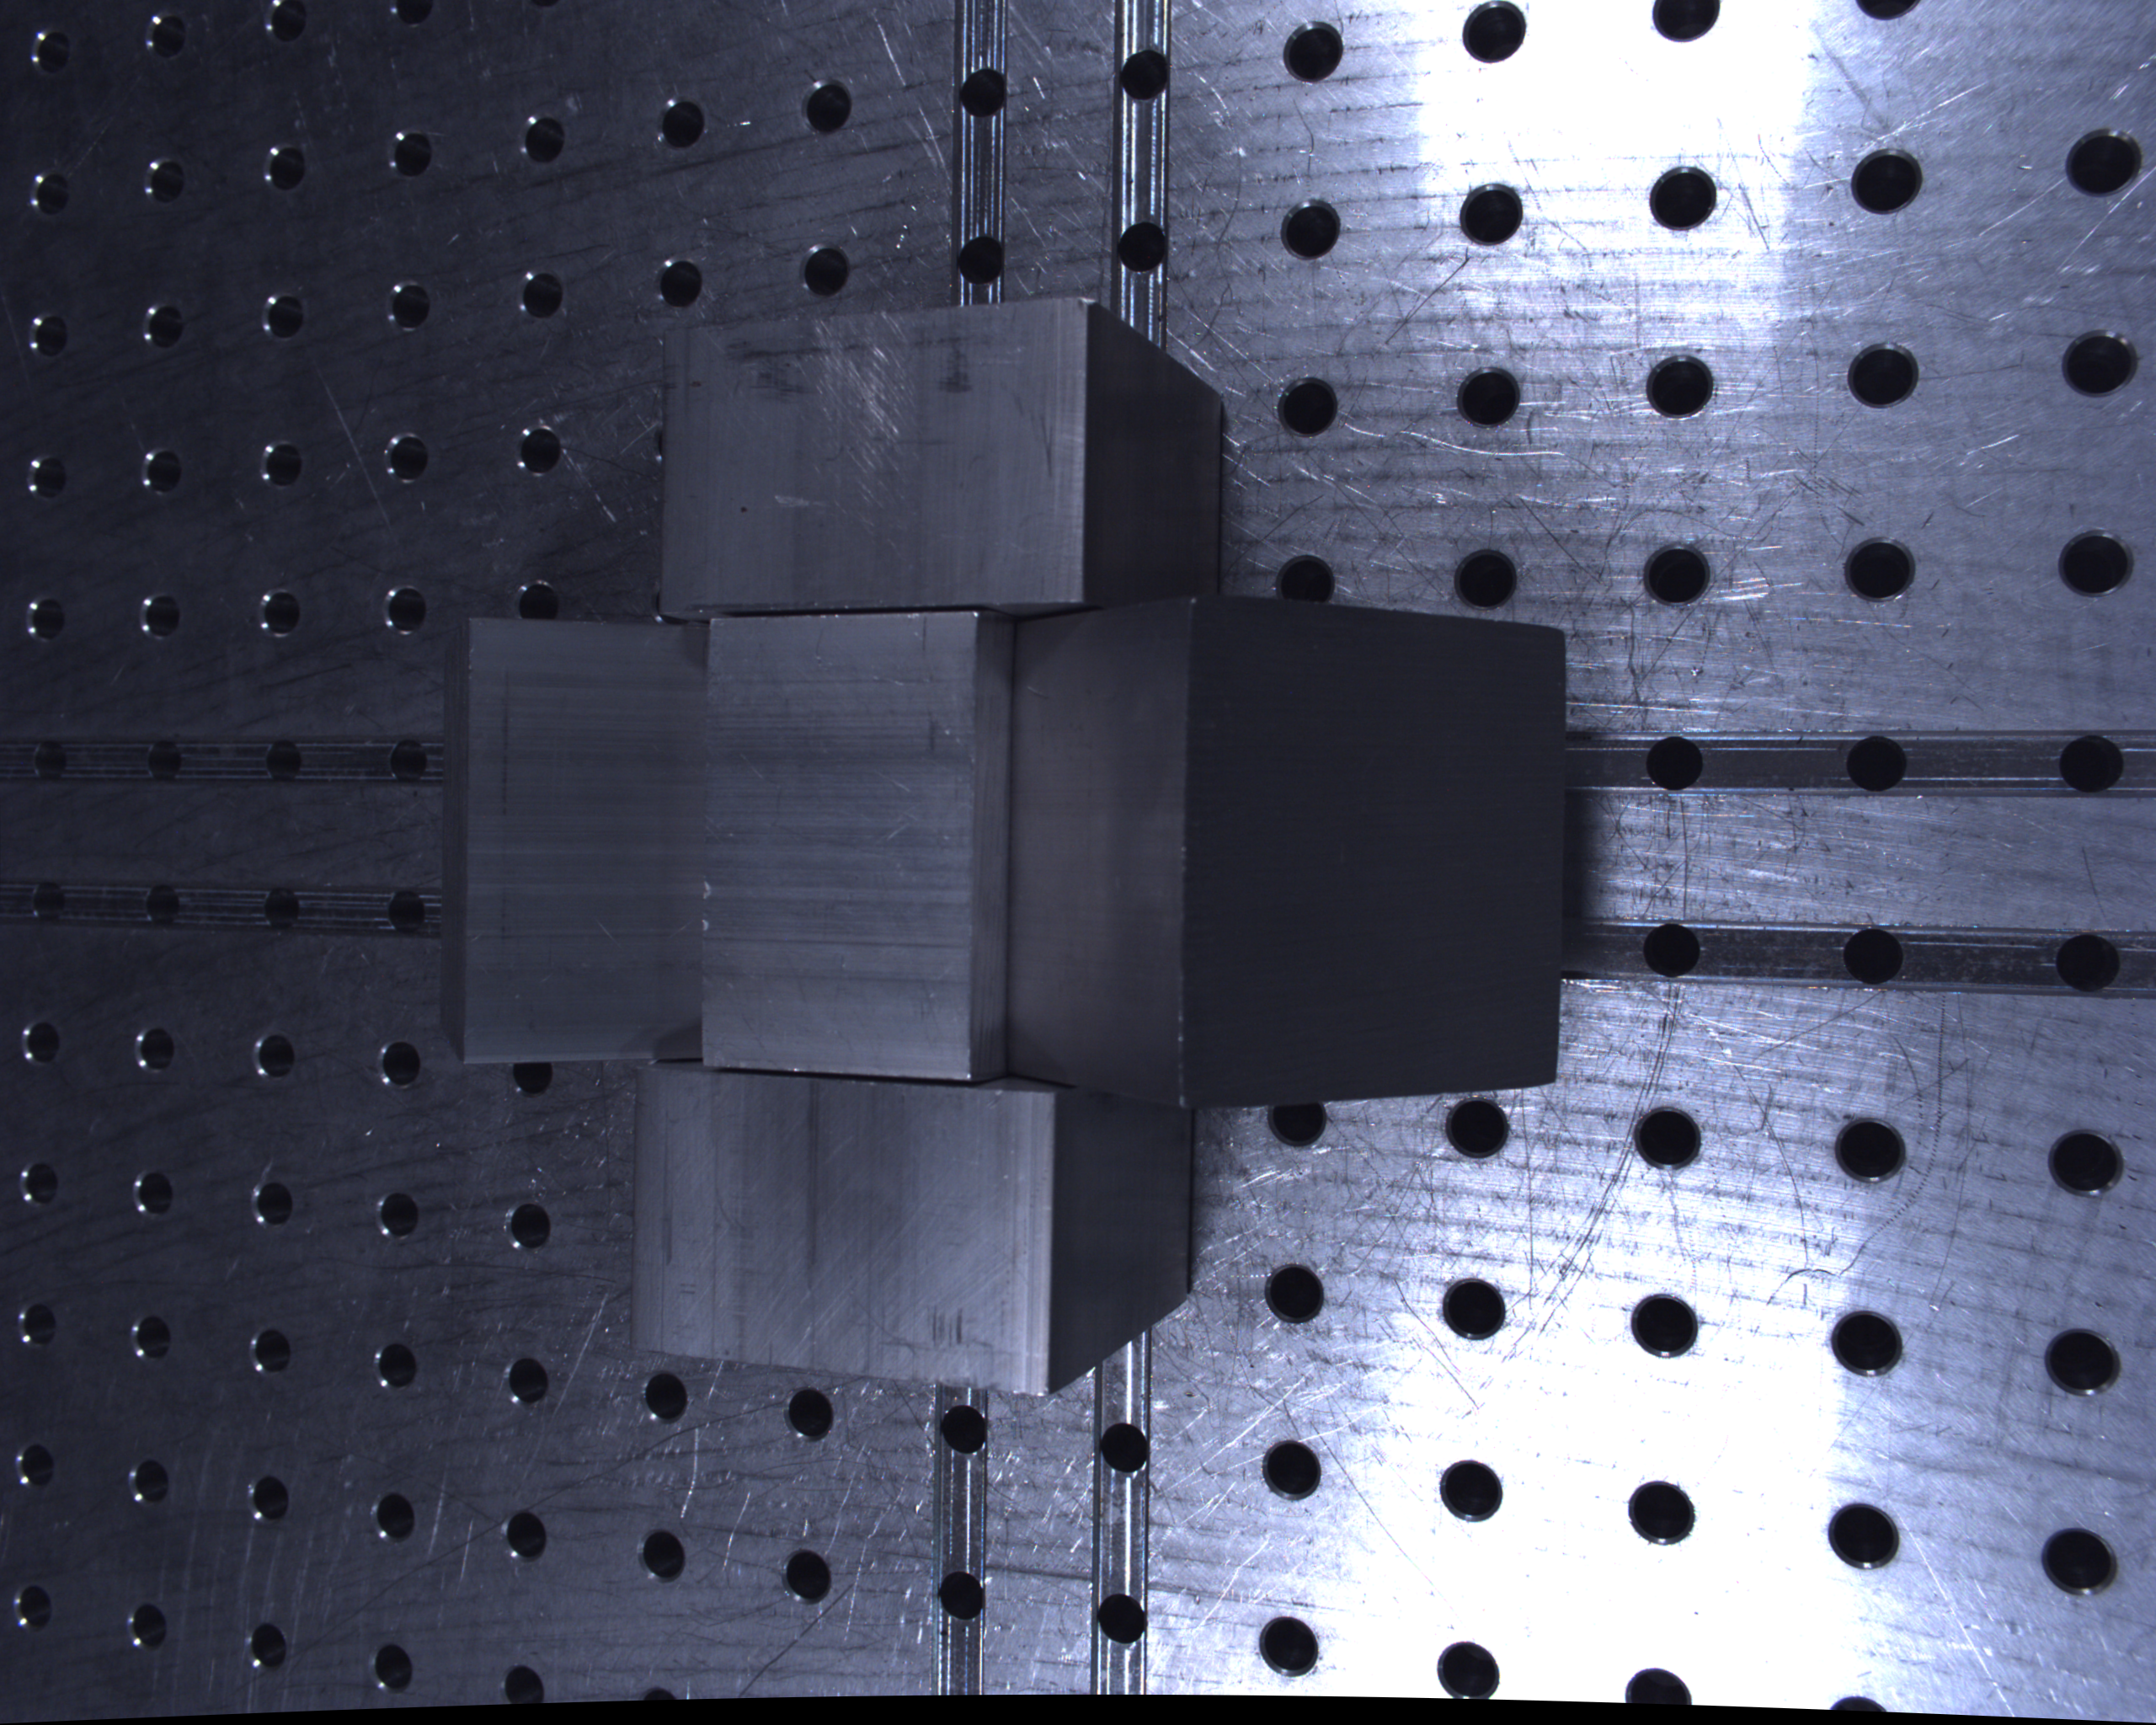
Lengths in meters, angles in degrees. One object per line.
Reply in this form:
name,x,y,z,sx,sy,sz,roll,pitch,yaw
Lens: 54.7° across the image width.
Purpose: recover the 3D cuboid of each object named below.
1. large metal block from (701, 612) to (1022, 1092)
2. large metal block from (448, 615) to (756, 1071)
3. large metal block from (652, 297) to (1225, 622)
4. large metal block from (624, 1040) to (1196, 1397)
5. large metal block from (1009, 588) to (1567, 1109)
large metal block,-0.027,-0.002,0.391,0.050,0.080,0.079,1,91,20
large metal block,-0.096,-0.004,0.409,0.050,0.080,0.079,0,91,-20
large metal block,-0.023,-0.068,0.389,0.080,0.080,0.050,1,91,19
large metal block,-0.028,0.061,0.391,0.080,0.080,0.050,1,91,19
large metal block,0.037,-0.002,0.361,0.050,0.081,0.079,1,90,57
